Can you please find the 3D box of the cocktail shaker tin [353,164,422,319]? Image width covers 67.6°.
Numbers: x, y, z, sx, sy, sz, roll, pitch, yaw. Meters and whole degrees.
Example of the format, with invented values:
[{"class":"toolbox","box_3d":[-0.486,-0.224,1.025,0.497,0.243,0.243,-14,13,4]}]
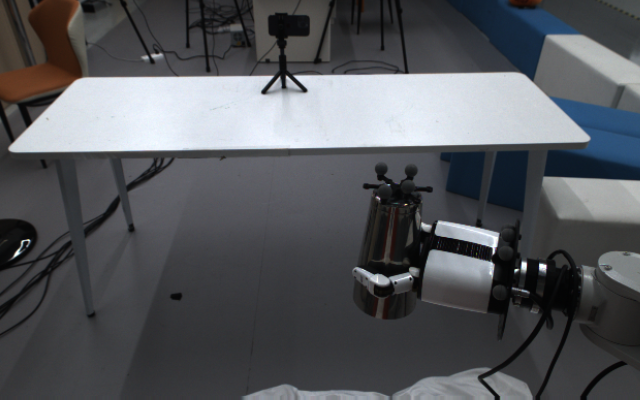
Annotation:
[{"class":"cocktail shaker tin","box_3d":[0.098,0.066,0.663,0.093,0.170,0.093,2,28,-1]}]
